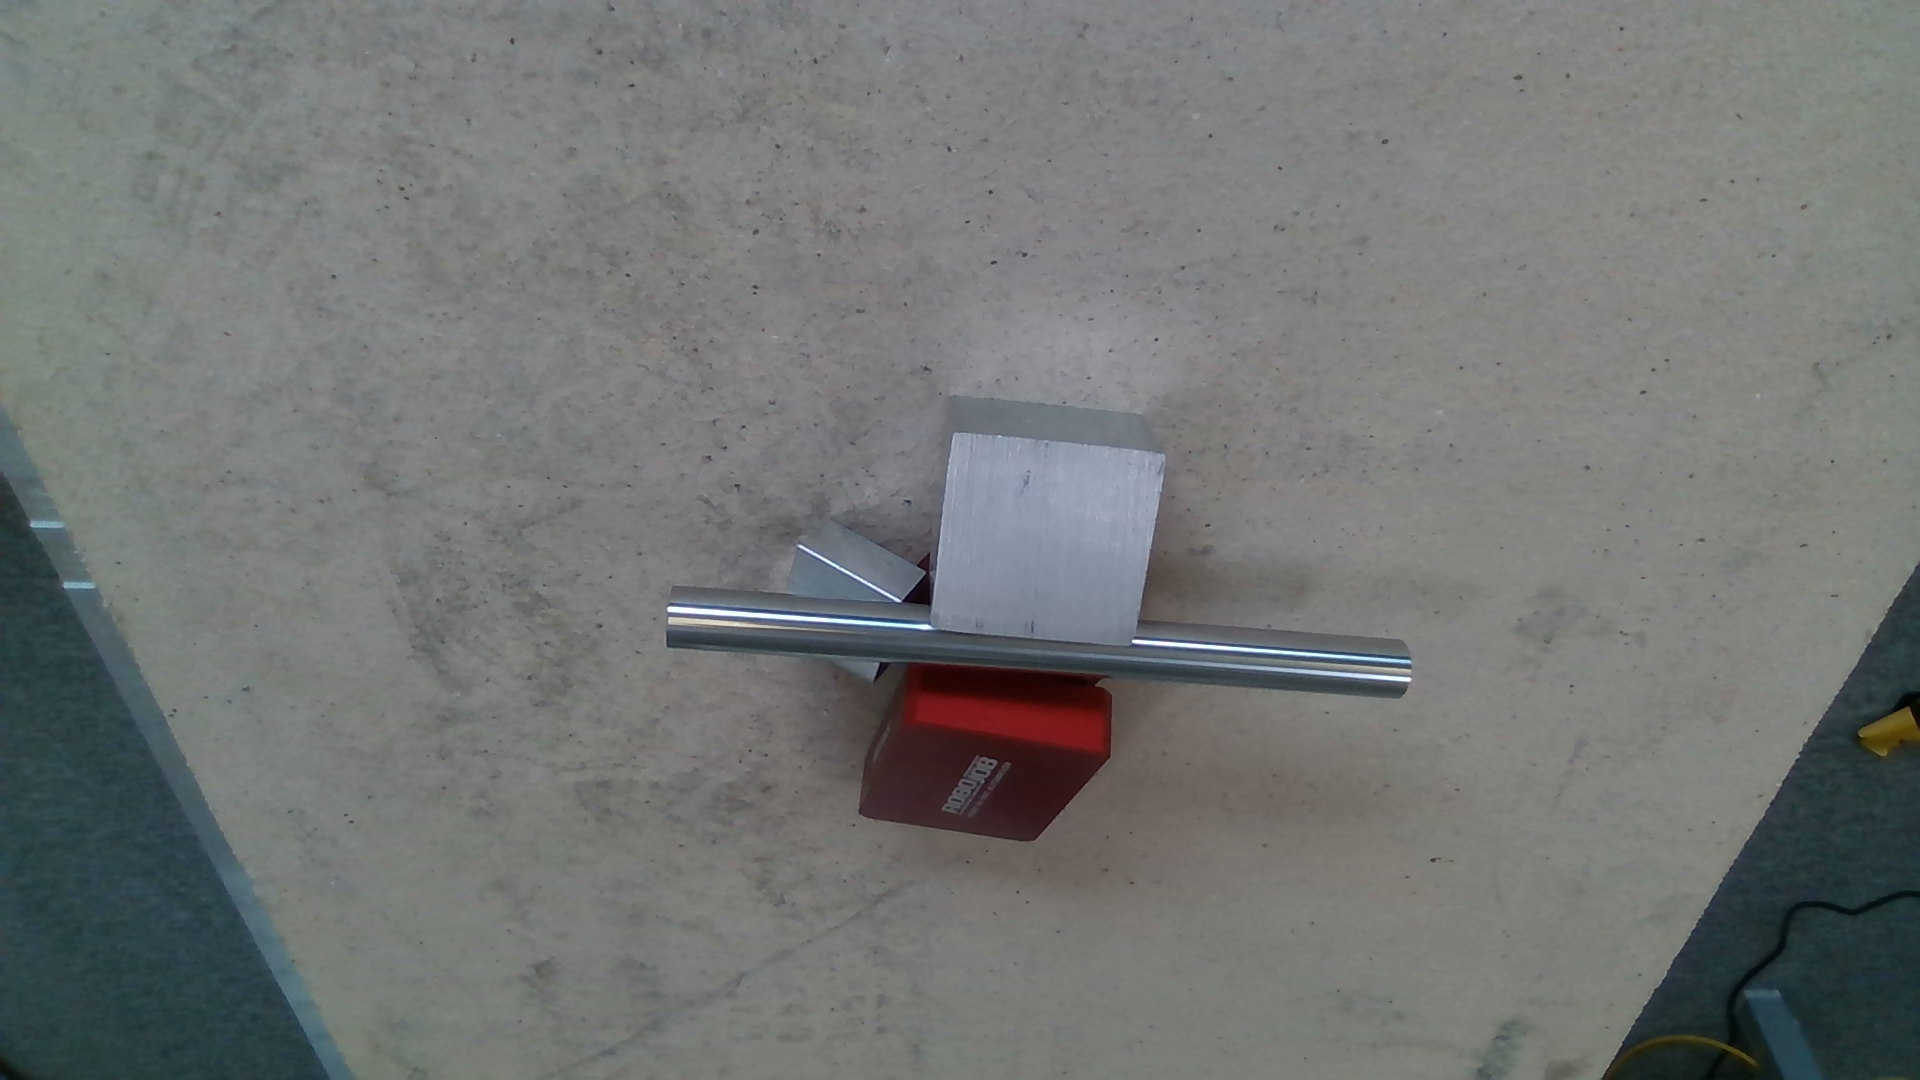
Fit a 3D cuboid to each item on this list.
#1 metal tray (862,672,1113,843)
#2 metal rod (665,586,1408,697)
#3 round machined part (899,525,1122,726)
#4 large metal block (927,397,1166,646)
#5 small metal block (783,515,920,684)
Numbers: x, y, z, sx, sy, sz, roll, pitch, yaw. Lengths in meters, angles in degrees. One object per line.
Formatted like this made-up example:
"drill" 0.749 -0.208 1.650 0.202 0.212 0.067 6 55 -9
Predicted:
"metal tray" 0.008 0.100 0.632 0.090 0.030 0.130 11 149 -8
"metal rod" 0.034 0.042 0.560 0.300 0.025 0.025 4 130 -7
"round machined part" 0.022 0.044 0.605 0.098 0.042 0.098 0 130 0
"large metal block" 0.031 -0.009 0.542 0.080 0.050 0.080 5 112 -5
"small metal block" -0.048 0.026 0.589 0.050 0.025 0.050 28 128 10
